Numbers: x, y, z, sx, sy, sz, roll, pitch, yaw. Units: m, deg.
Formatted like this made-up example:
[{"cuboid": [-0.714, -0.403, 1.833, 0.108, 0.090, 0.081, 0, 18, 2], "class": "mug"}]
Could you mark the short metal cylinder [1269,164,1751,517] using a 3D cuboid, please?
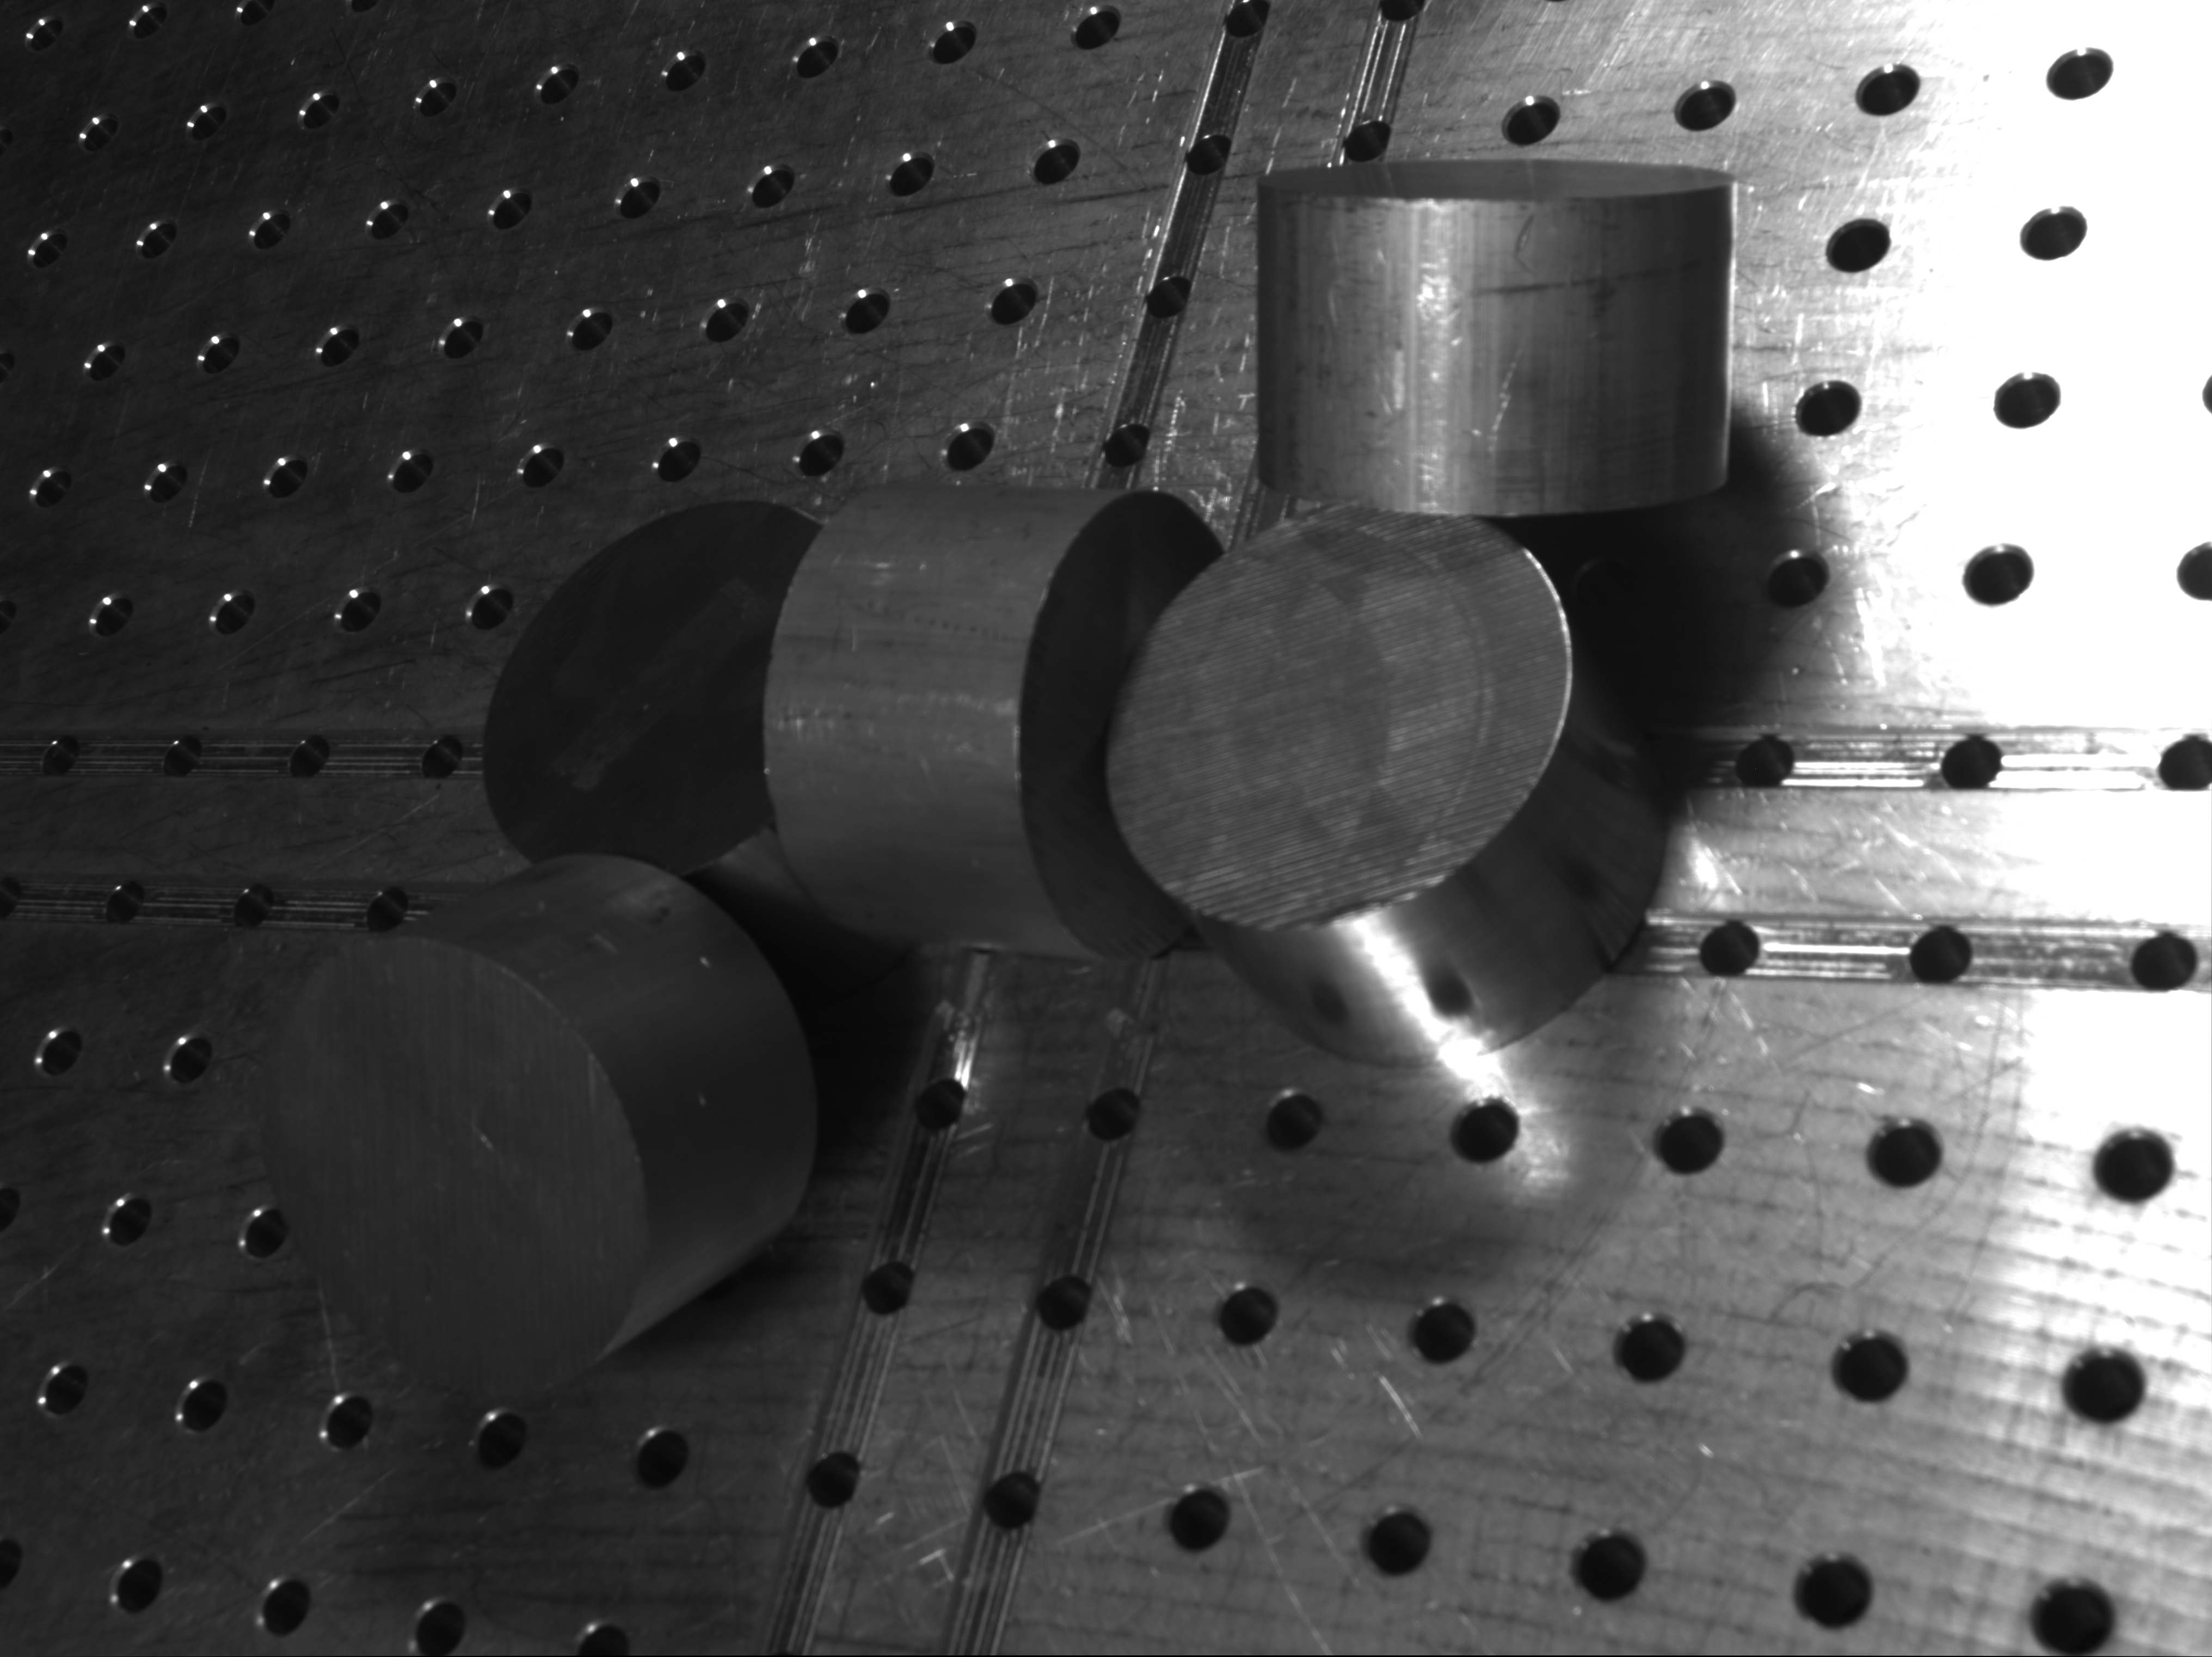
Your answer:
[{"cuboid": [0.068, -0.084, 0.619, 0.080, 0.080, 0.050, 9, 108, 32], "class": "short metal cylinder"}]

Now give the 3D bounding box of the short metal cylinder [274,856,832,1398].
[{"cuboid": [-0.094, 0.050, 0.624, 0.080, 0.050, 0.080, 9, 110, 27], "class": "short metal cylinder"}]

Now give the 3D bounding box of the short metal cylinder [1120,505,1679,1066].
[{"cuboid": [0.049, -0.007, 0.608, 0.080, 0.050, 0.080, -13, 56, 21], "class": "short metal cylinder"}]

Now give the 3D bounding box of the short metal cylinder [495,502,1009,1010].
[{"cuboid": [-0.064, -0.013, 0.673, 0.080, 0.050, 0.080, -13, 56, 21], "class": "short metal cylinder"}]

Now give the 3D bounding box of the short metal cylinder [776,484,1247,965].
[{"cuboid": [-0.013, -0.019, 0.630, 0.050, 0.080, 0.080, 5, 64, 31], "class": "short metal cylinder"}]
